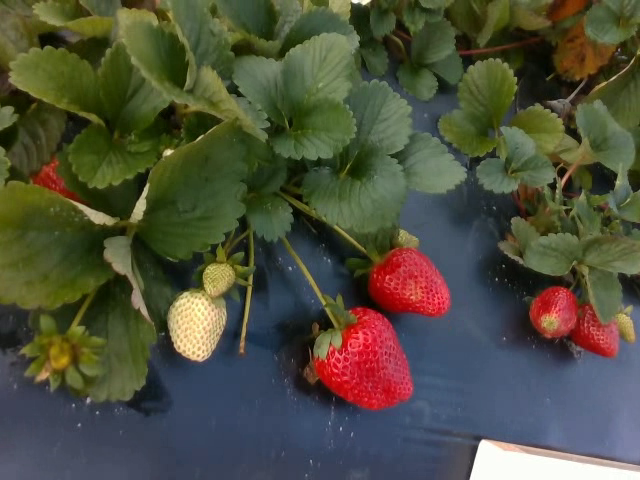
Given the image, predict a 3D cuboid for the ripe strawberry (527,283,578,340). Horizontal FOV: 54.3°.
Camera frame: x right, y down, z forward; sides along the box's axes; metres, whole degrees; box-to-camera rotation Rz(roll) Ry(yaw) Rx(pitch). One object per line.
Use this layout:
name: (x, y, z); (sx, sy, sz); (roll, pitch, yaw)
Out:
ripe strawberry: (0.171, 0.058, 0.451); (0.039, 0.047, 0.053); (9, 15, 32)

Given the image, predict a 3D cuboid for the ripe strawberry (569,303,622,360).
ripe strawberry: (0.212, 0.074, 0.458); (0.044, 0.041, 0.049); (13, 29, -24)

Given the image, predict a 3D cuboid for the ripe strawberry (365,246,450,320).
ripe strawberry: (0.063, 0.031, 0.398); (0.060, 0.050, 0.051); (38, -7, 26)

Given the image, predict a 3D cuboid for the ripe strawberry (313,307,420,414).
ripe strawberry: (0.031, 0.075, 0.360); (0.059, 0.065, 0.044); (-44, 4, -8)
